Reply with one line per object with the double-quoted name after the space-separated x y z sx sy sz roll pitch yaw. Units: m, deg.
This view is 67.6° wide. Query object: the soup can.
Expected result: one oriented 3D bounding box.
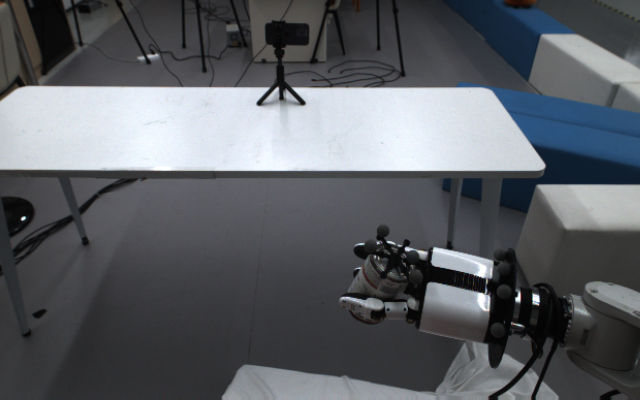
0.084 0.117 0.675 0.067 0.101 0.067 14 39 -12 "soup can"
